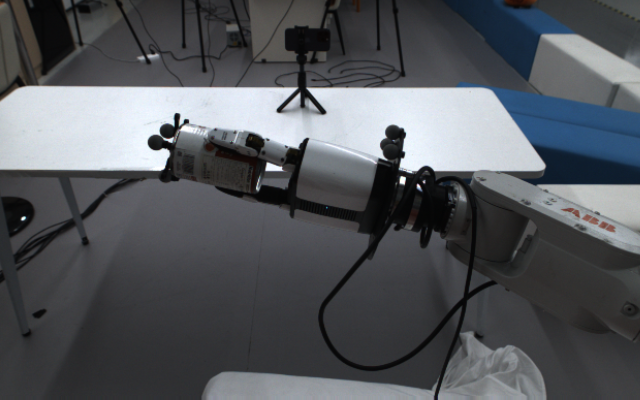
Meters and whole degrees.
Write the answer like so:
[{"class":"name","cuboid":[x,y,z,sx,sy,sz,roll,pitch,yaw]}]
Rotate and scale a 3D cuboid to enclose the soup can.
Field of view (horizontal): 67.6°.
[{"class":"soup can","cuboid":[-0.115,-0.048,0.577,0.101,0.067,0.067,12,35,-1]}]
